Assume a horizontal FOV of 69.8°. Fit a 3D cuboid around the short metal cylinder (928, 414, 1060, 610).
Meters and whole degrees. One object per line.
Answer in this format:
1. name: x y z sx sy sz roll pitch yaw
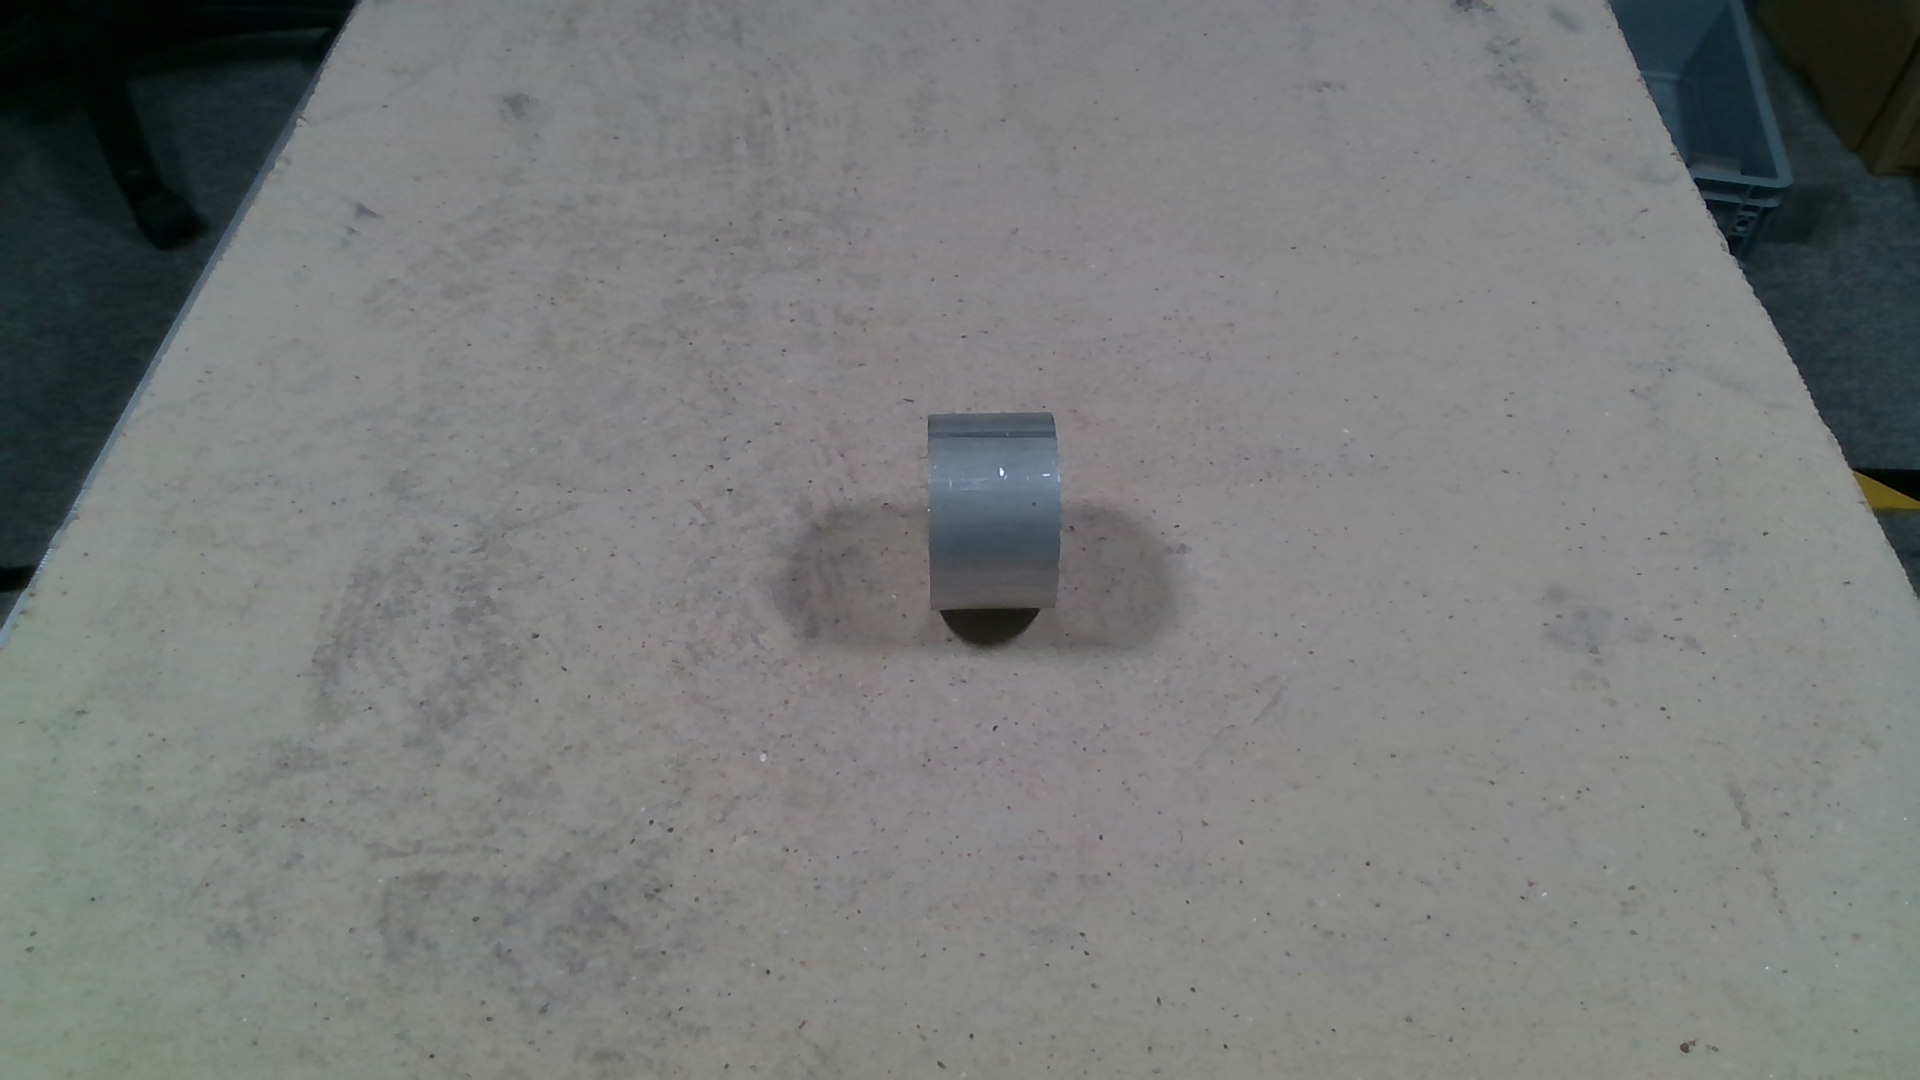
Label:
1. short metal cylinder: 0.013 -0.012 0.562 0.050 0.080 0.080 -1 50 -1
